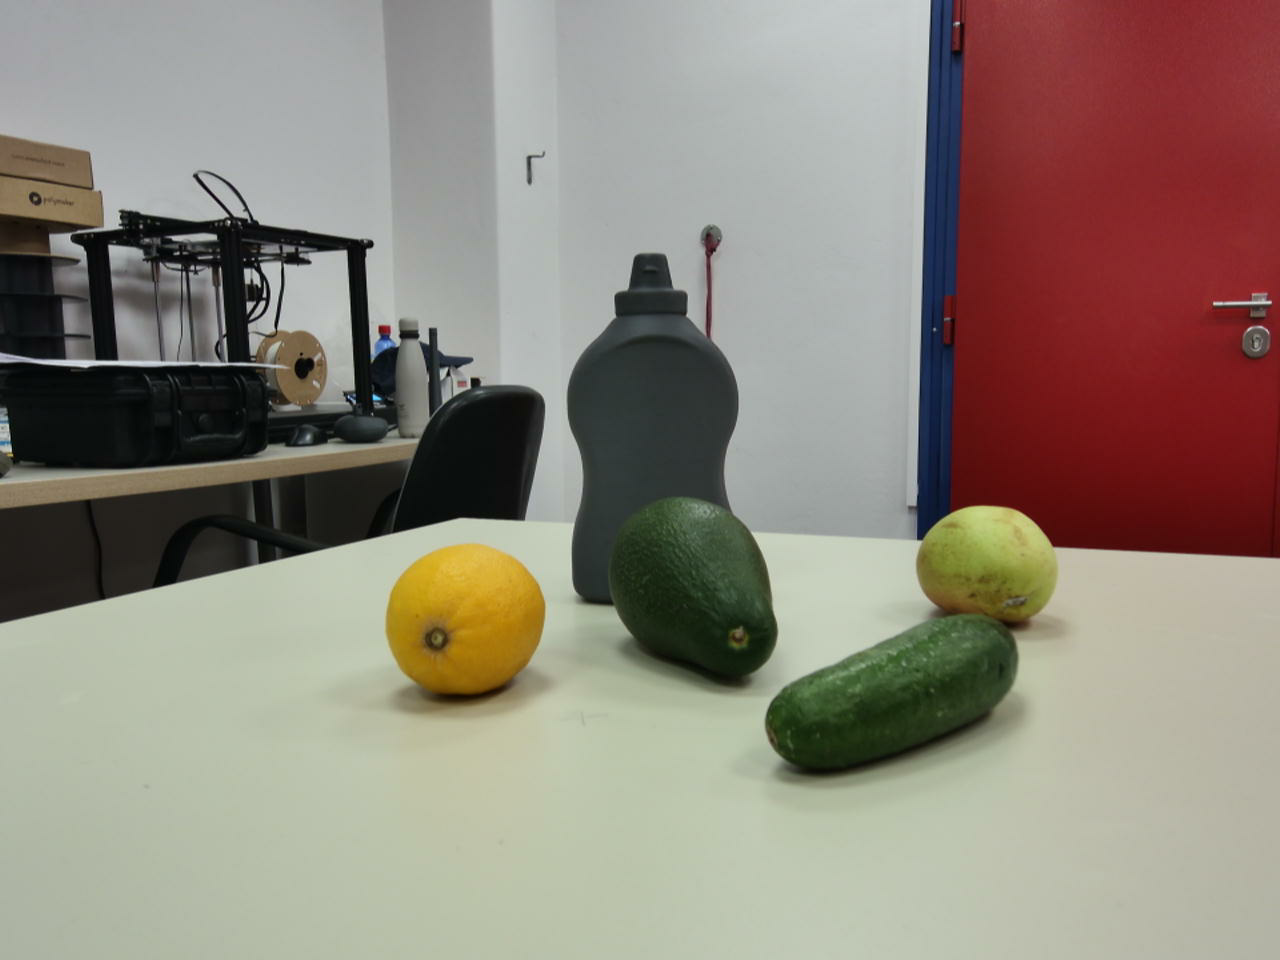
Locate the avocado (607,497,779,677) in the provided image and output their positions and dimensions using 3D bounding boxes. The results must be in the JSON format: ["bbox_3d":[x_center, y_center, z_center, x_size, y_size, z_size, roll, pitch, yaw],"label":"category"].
[{"bbox_3d":[0.021,0.045,0.440,0.072,0.071,0.109,1,3,2],"label":"avocado"}]
